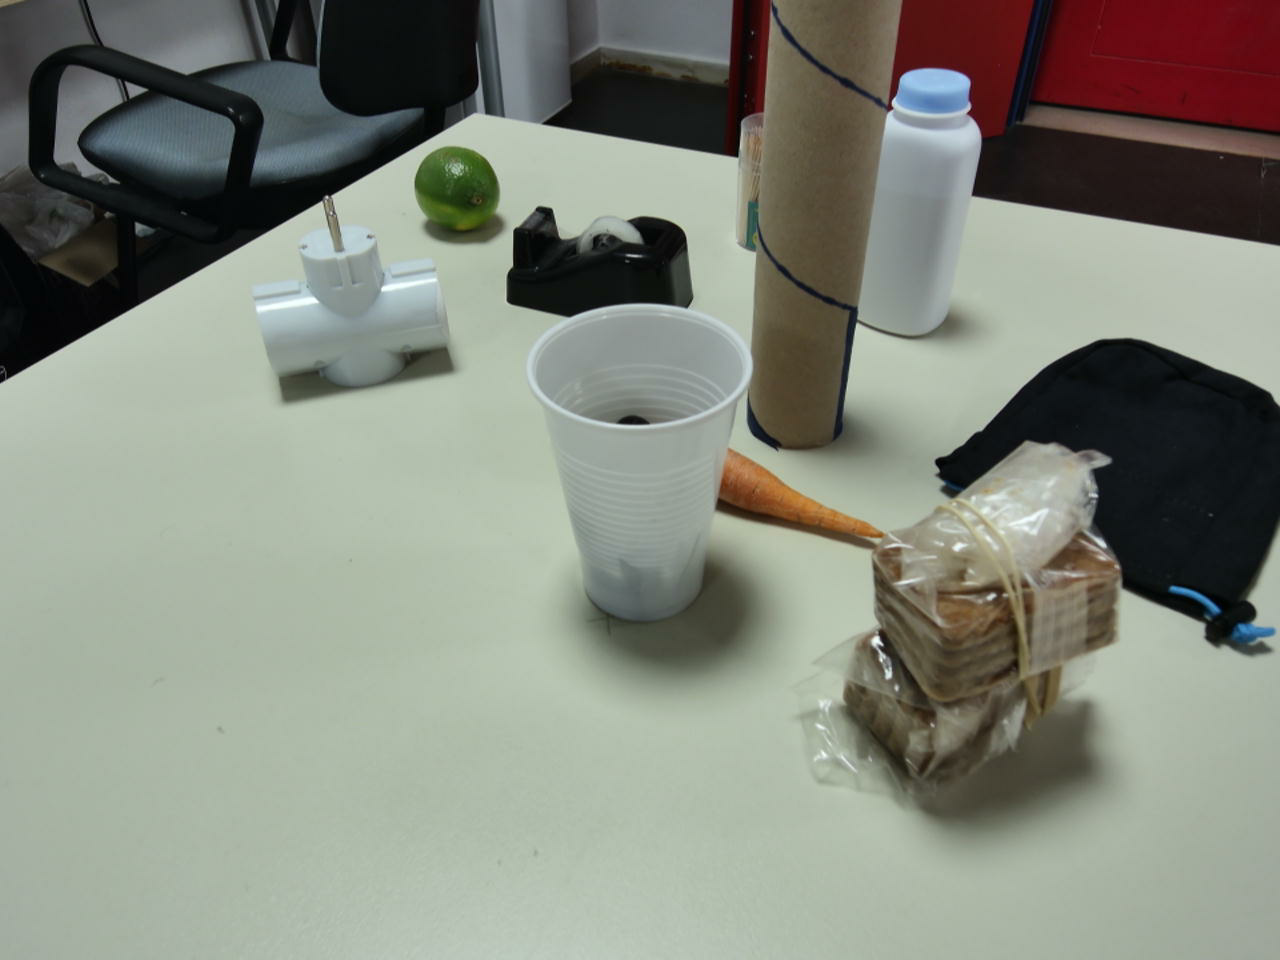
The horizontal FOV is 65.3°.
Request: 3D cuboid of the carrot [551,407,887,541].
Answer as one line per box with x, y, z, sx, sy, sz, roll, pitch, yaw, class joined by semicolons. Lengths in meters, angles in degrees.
0.033;-0.005;0.447;0.163;0.029;0.031;17;41;21;carrot
